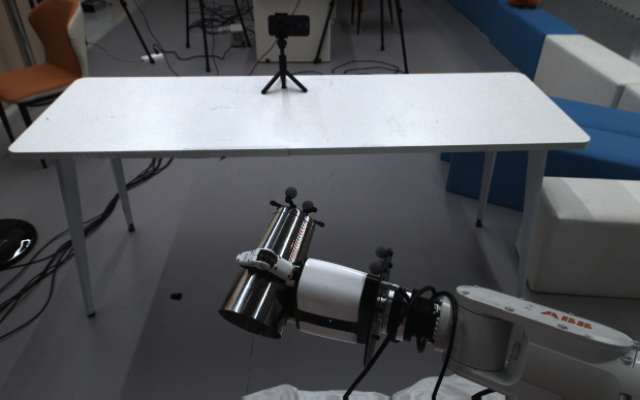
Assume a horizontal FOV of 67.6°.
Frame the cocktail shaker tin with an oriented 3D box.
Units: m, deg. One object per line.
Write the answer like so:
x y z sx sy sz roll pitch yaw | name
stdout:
-0.067 0.098 0.682 0.093 0.093 0.170 14 61 17 | cocktail shaker tin
